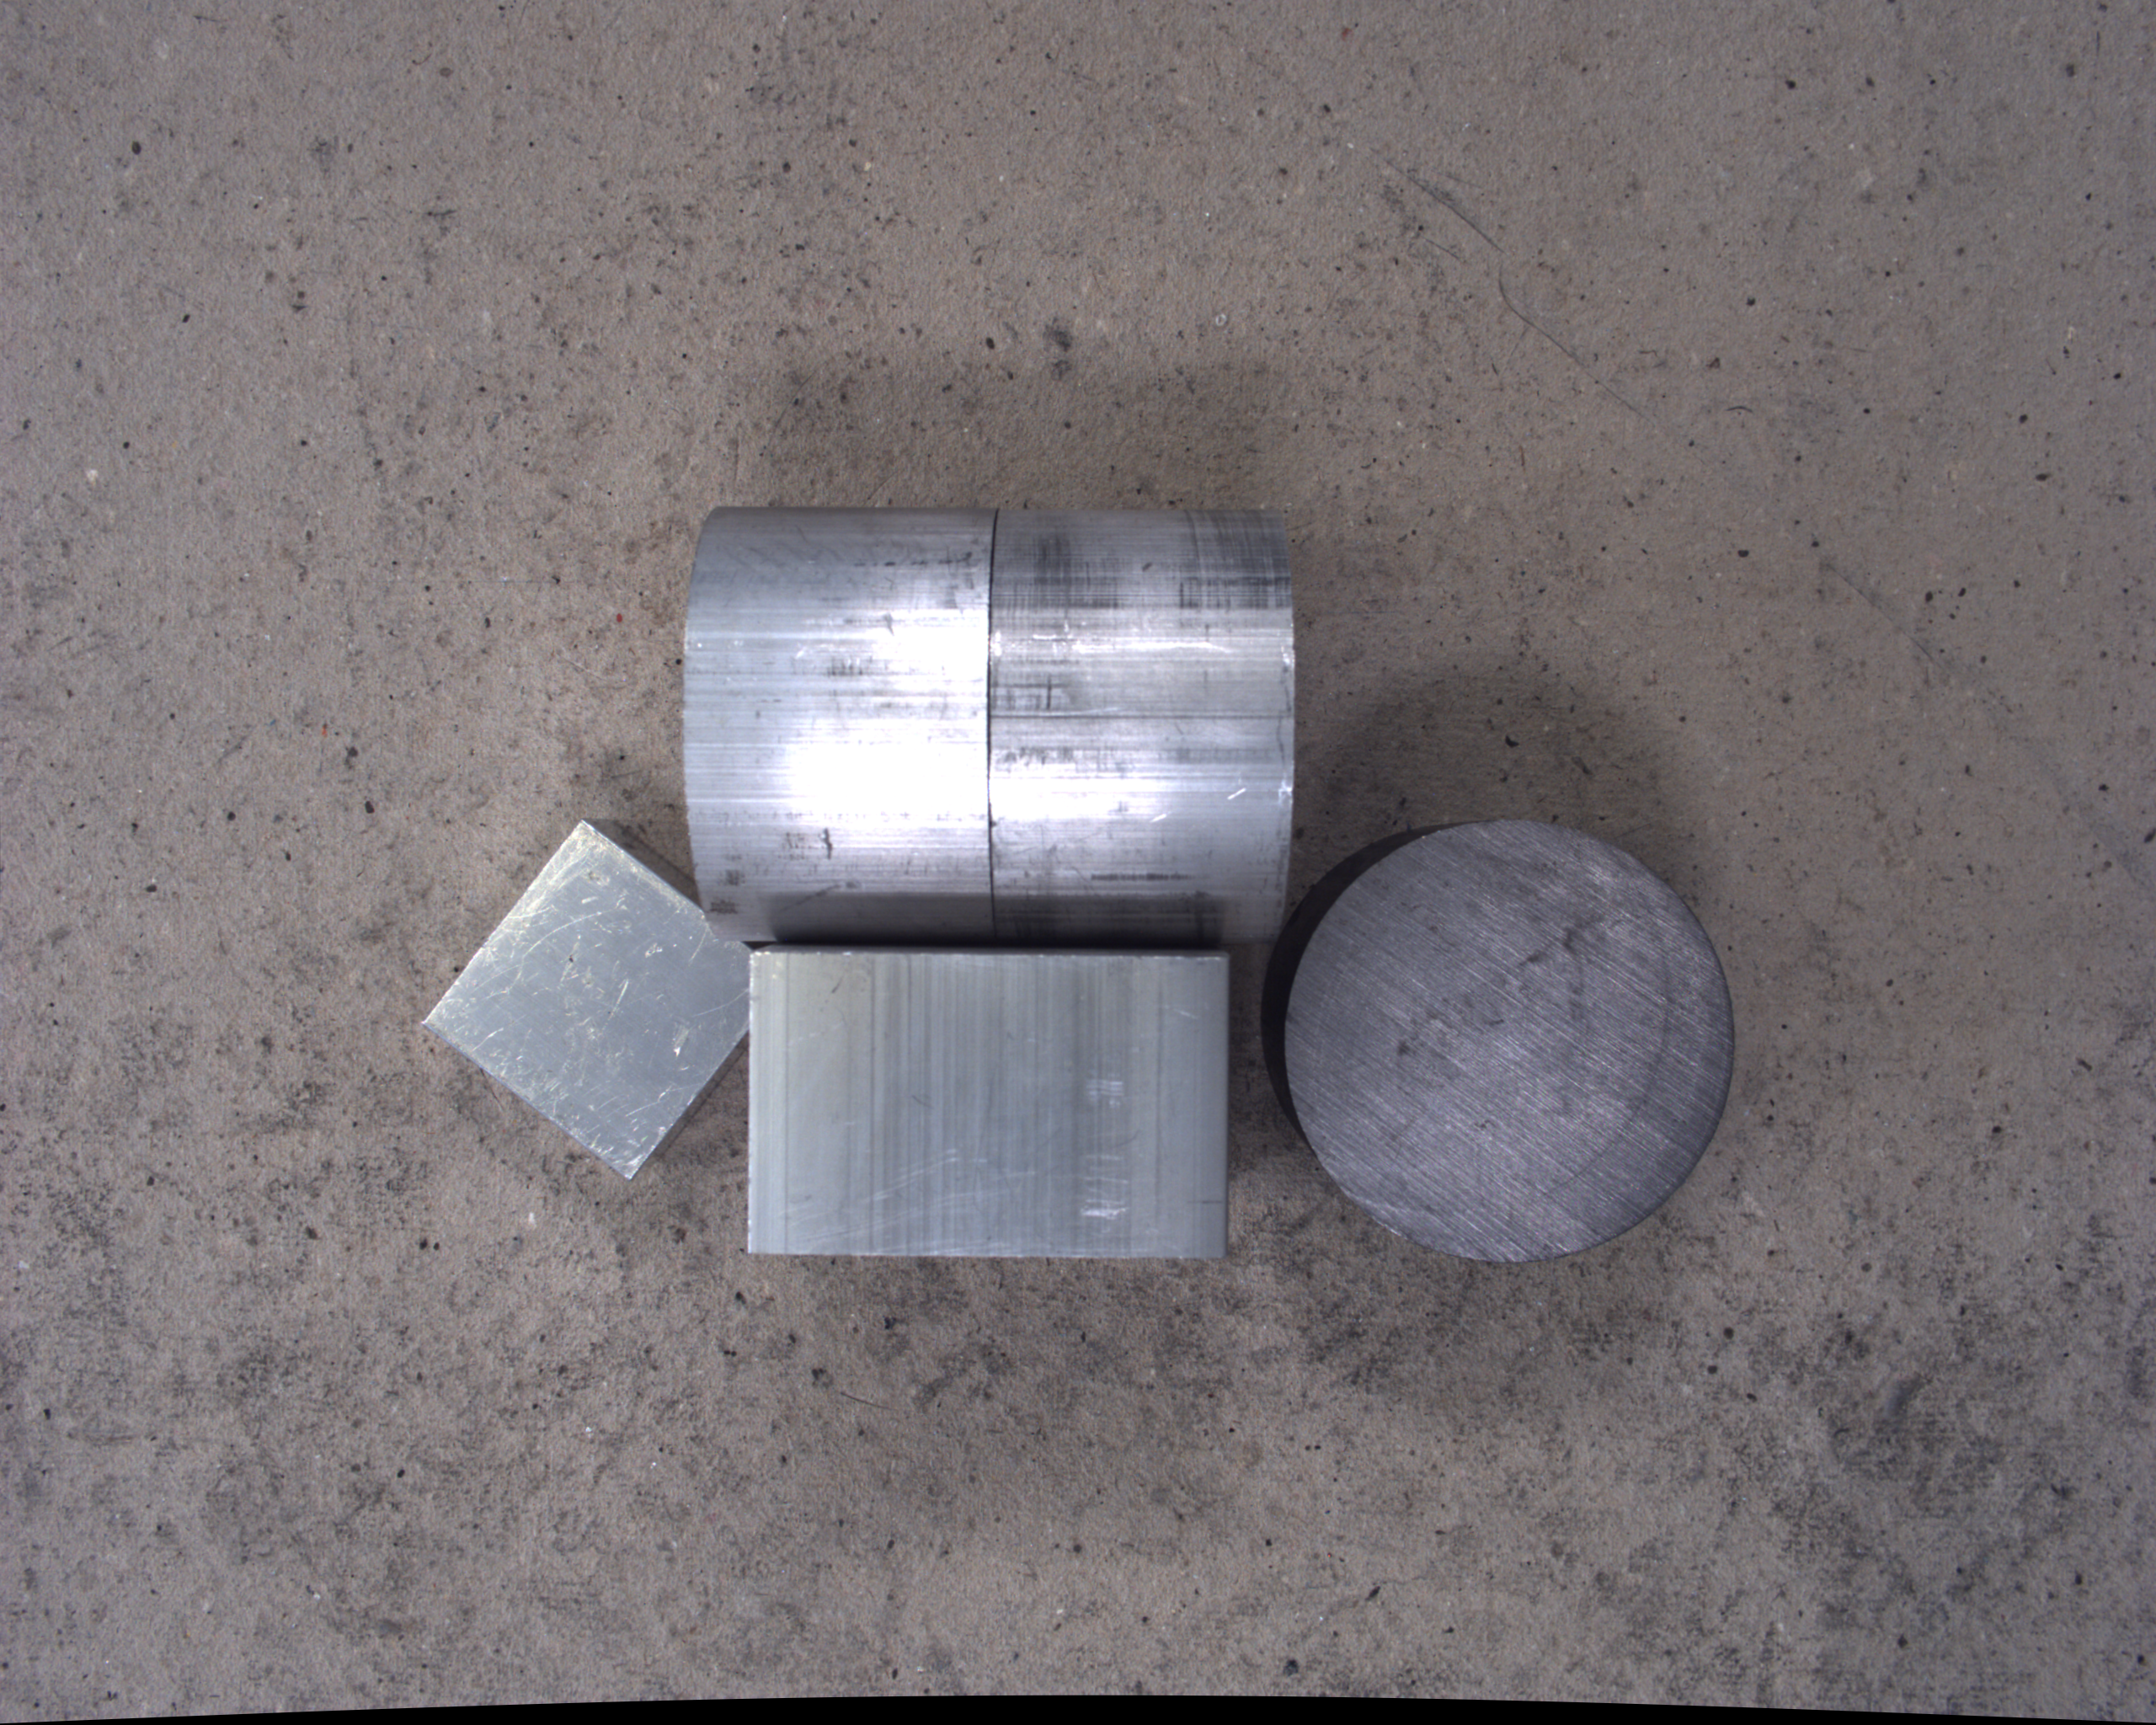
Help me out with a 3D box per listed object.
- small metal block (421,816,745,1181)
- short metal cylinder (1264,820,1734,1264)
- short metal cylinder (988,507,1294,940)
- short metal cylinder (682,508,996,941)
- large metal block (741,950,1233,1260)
[{"bbox_3d":[-0.090,0.026,0.411,0.050,0.025,0.050,38,90,0],"label":"small metal block"},{"bbox_3d":[0.077,0.032,0.399,0.081,0.050,0.079,0,90,0],"label":"short metal cylinder"},{"bbox_3d":[0.010,-0.025,0.384,0.050,0.080,0.079,1,90,0],"label":"short metal cylinder"},{"bbox_3d":[-0.040,-0.025,0.384,0.050,0.080,0.079,1,90,0],"label":"short metal cylinder"},{"bbox_3d":[-0.015,0.040,0.384,0.081,0.080,0.050,1,90,0],"label":"large metal block"}]
